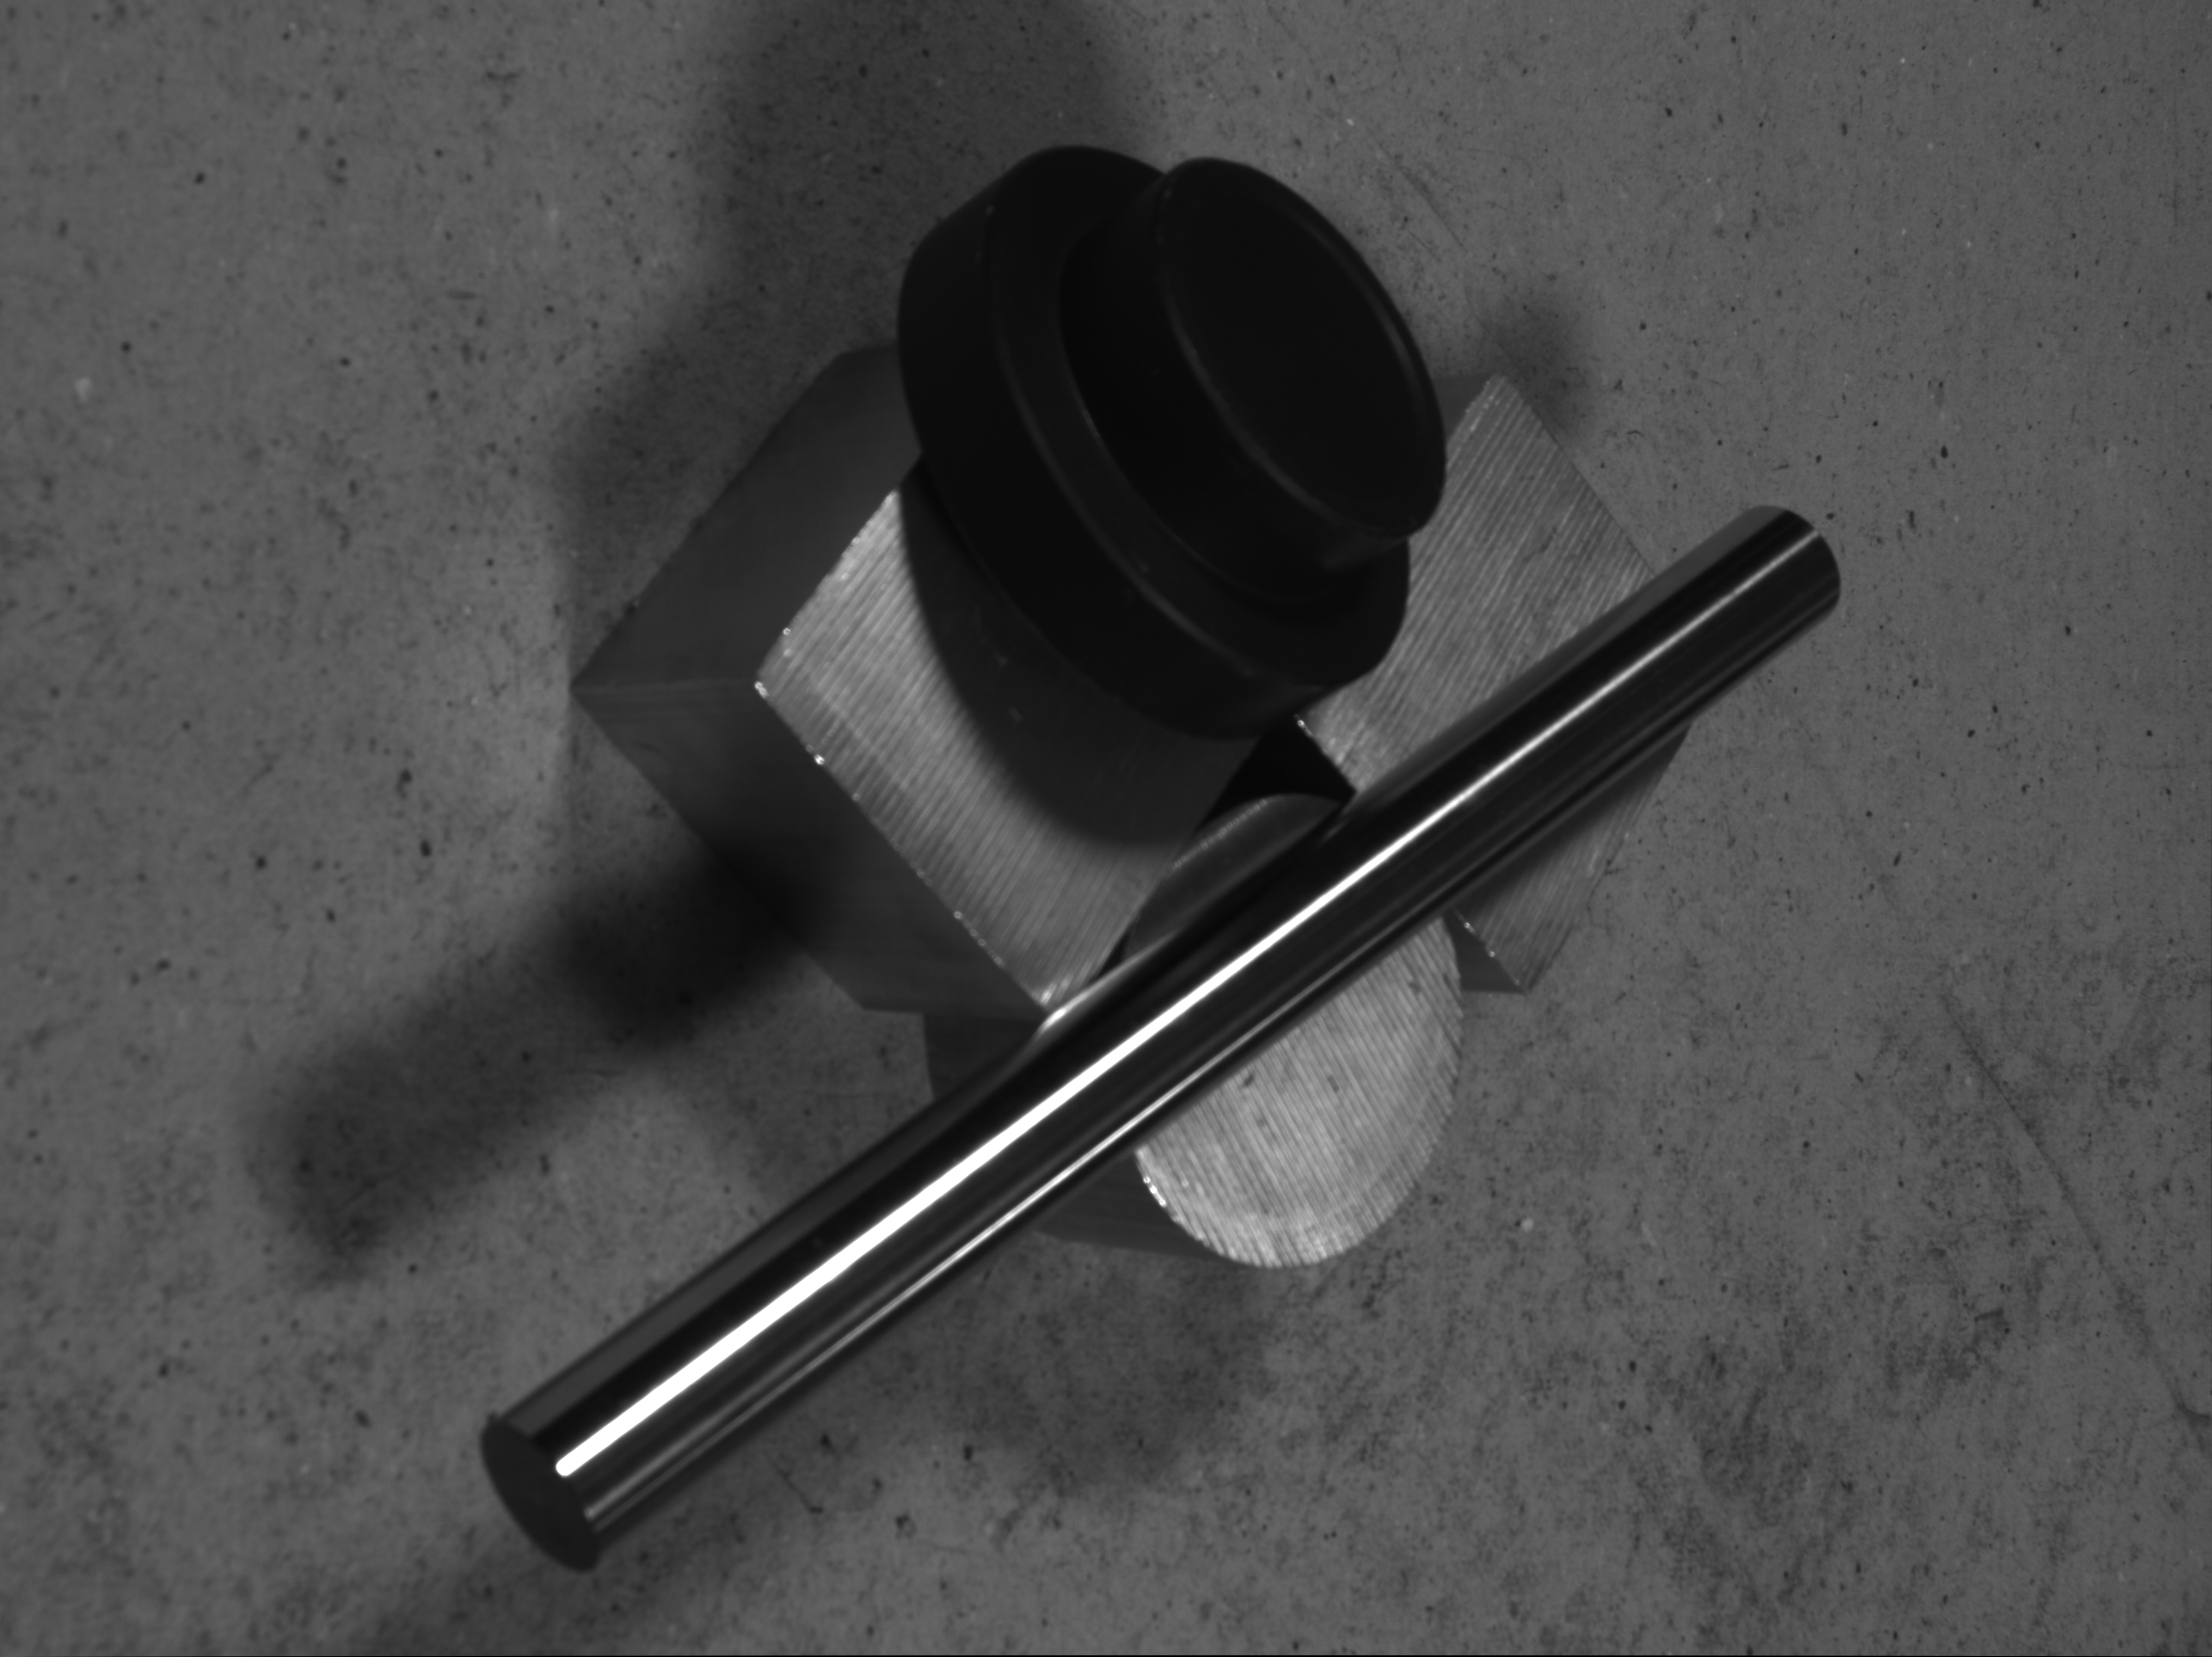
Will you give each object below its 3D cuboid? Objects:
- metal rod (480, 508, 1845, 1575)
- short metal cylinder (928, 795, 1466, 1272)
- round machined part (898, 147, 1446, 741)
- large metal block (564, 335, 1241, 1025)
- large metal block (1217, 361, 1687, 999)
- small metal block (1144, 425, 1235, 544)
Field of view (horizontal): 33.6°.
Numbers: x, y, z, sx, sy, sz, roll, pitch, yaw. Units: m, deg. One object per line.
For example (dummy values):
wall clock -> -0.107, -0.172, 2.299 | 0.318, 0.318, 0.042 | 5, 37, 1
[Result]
metal rod -> 0.024, 0.023, 0.592 | 0.301, 0.025, 0.025 | -35, 111, -34
short metal cylinder -> 0.016, 0.034, 0.634 | 0.080, 0.050, 0.080 | 0, 90, -40
round machined part -> 0.017, -0.067, 0.583 | 0.098, 0.042, 0.098 | 32, 42, -34
large metal block -> -0.026, -0.025, 0.598 | 0.080, 0.050, 0.080 | 50, 61, -28
large metal block -> 0.056, -0.026, 0.668 | 0.080, 0.050, 0.080 | 49, 61, -29
small metal block -> 0.007, -0.065, 0.643 | 0.050, 0.025, 0.050 | 50, 60, -28
